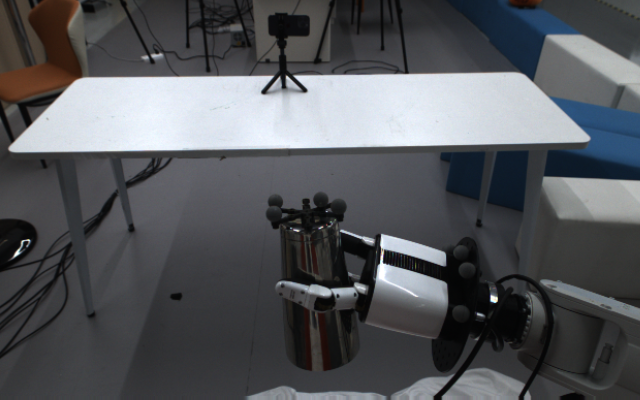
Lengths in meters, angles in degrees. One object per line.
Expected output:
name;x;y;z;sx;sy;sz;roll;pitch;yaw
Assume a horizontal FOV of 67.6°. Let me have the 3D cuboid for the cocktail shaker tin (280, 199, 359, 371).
cocktail shaker tin;-0.004;0.102;0.569;0.093;0.170;0.093;-6;19;2
